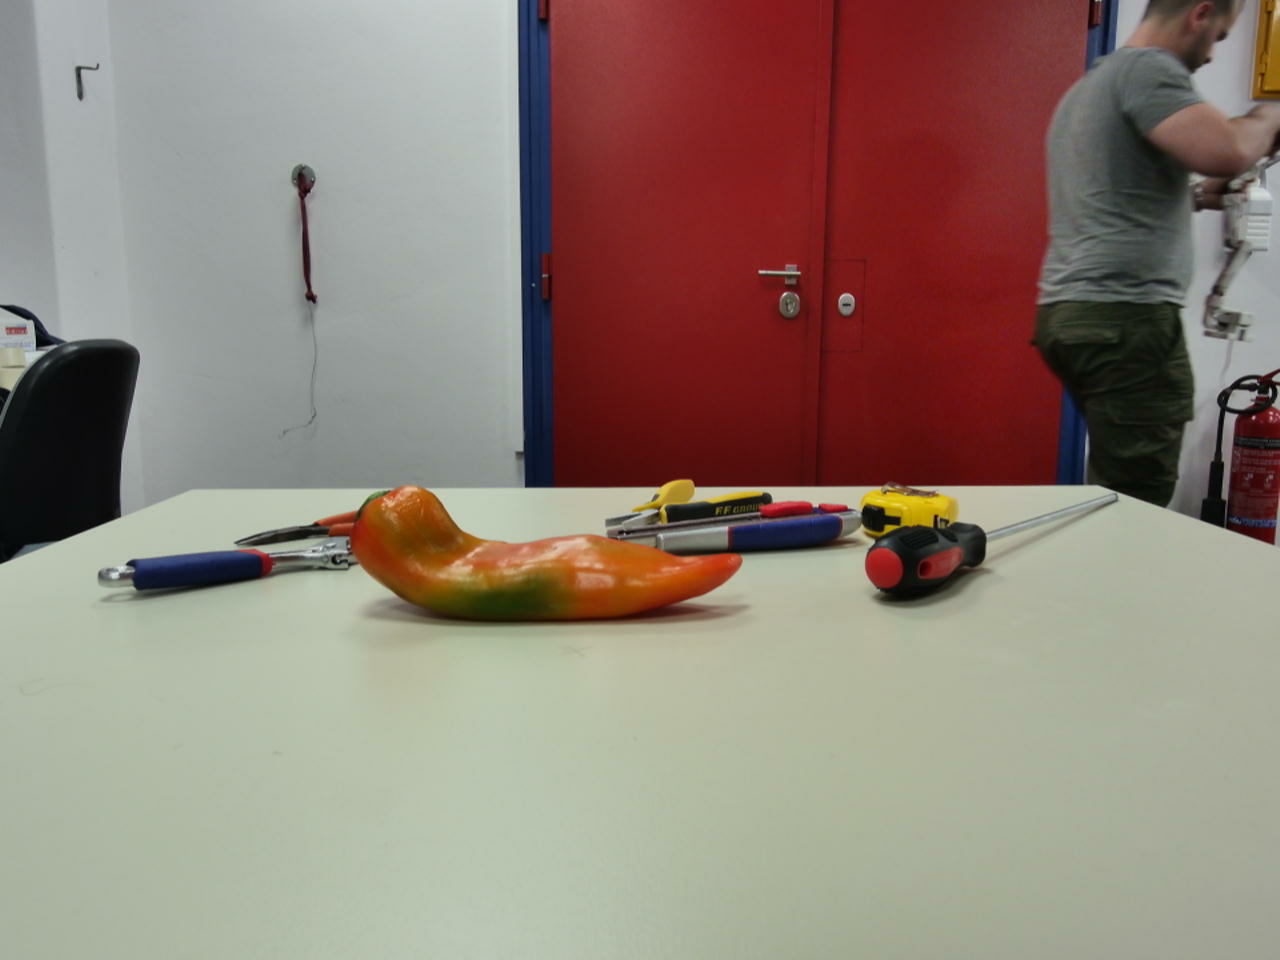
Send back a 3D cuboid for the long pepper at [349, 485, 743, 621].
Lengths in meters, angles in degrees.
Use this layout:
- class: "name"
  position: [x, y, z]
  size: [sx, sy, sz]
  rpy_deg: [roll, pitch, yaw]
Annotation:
- class: "long pepper"
  position: [-0.047, 0.035, 0.507]
  size: [0.199, 0.065, 0.066]
  rpy_deg: [0, 6, 4]
